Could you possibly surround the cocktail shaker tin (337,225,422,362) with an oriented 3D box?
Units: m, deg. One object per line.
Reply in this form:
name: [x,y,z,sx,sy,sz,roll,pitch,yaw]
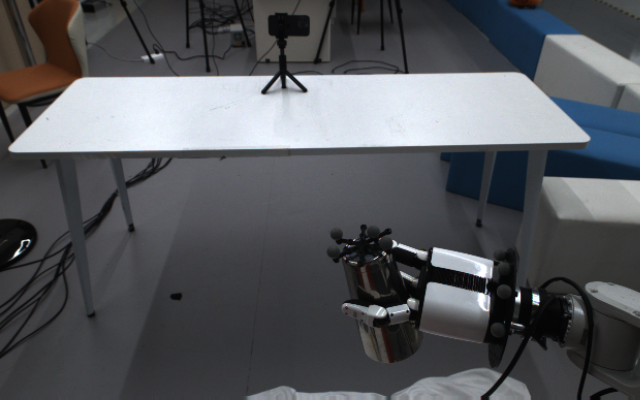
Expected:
cocktail shaker tin: [0.084,0.136,0.680,0.093,0.170,0.093,-15,27,8]
